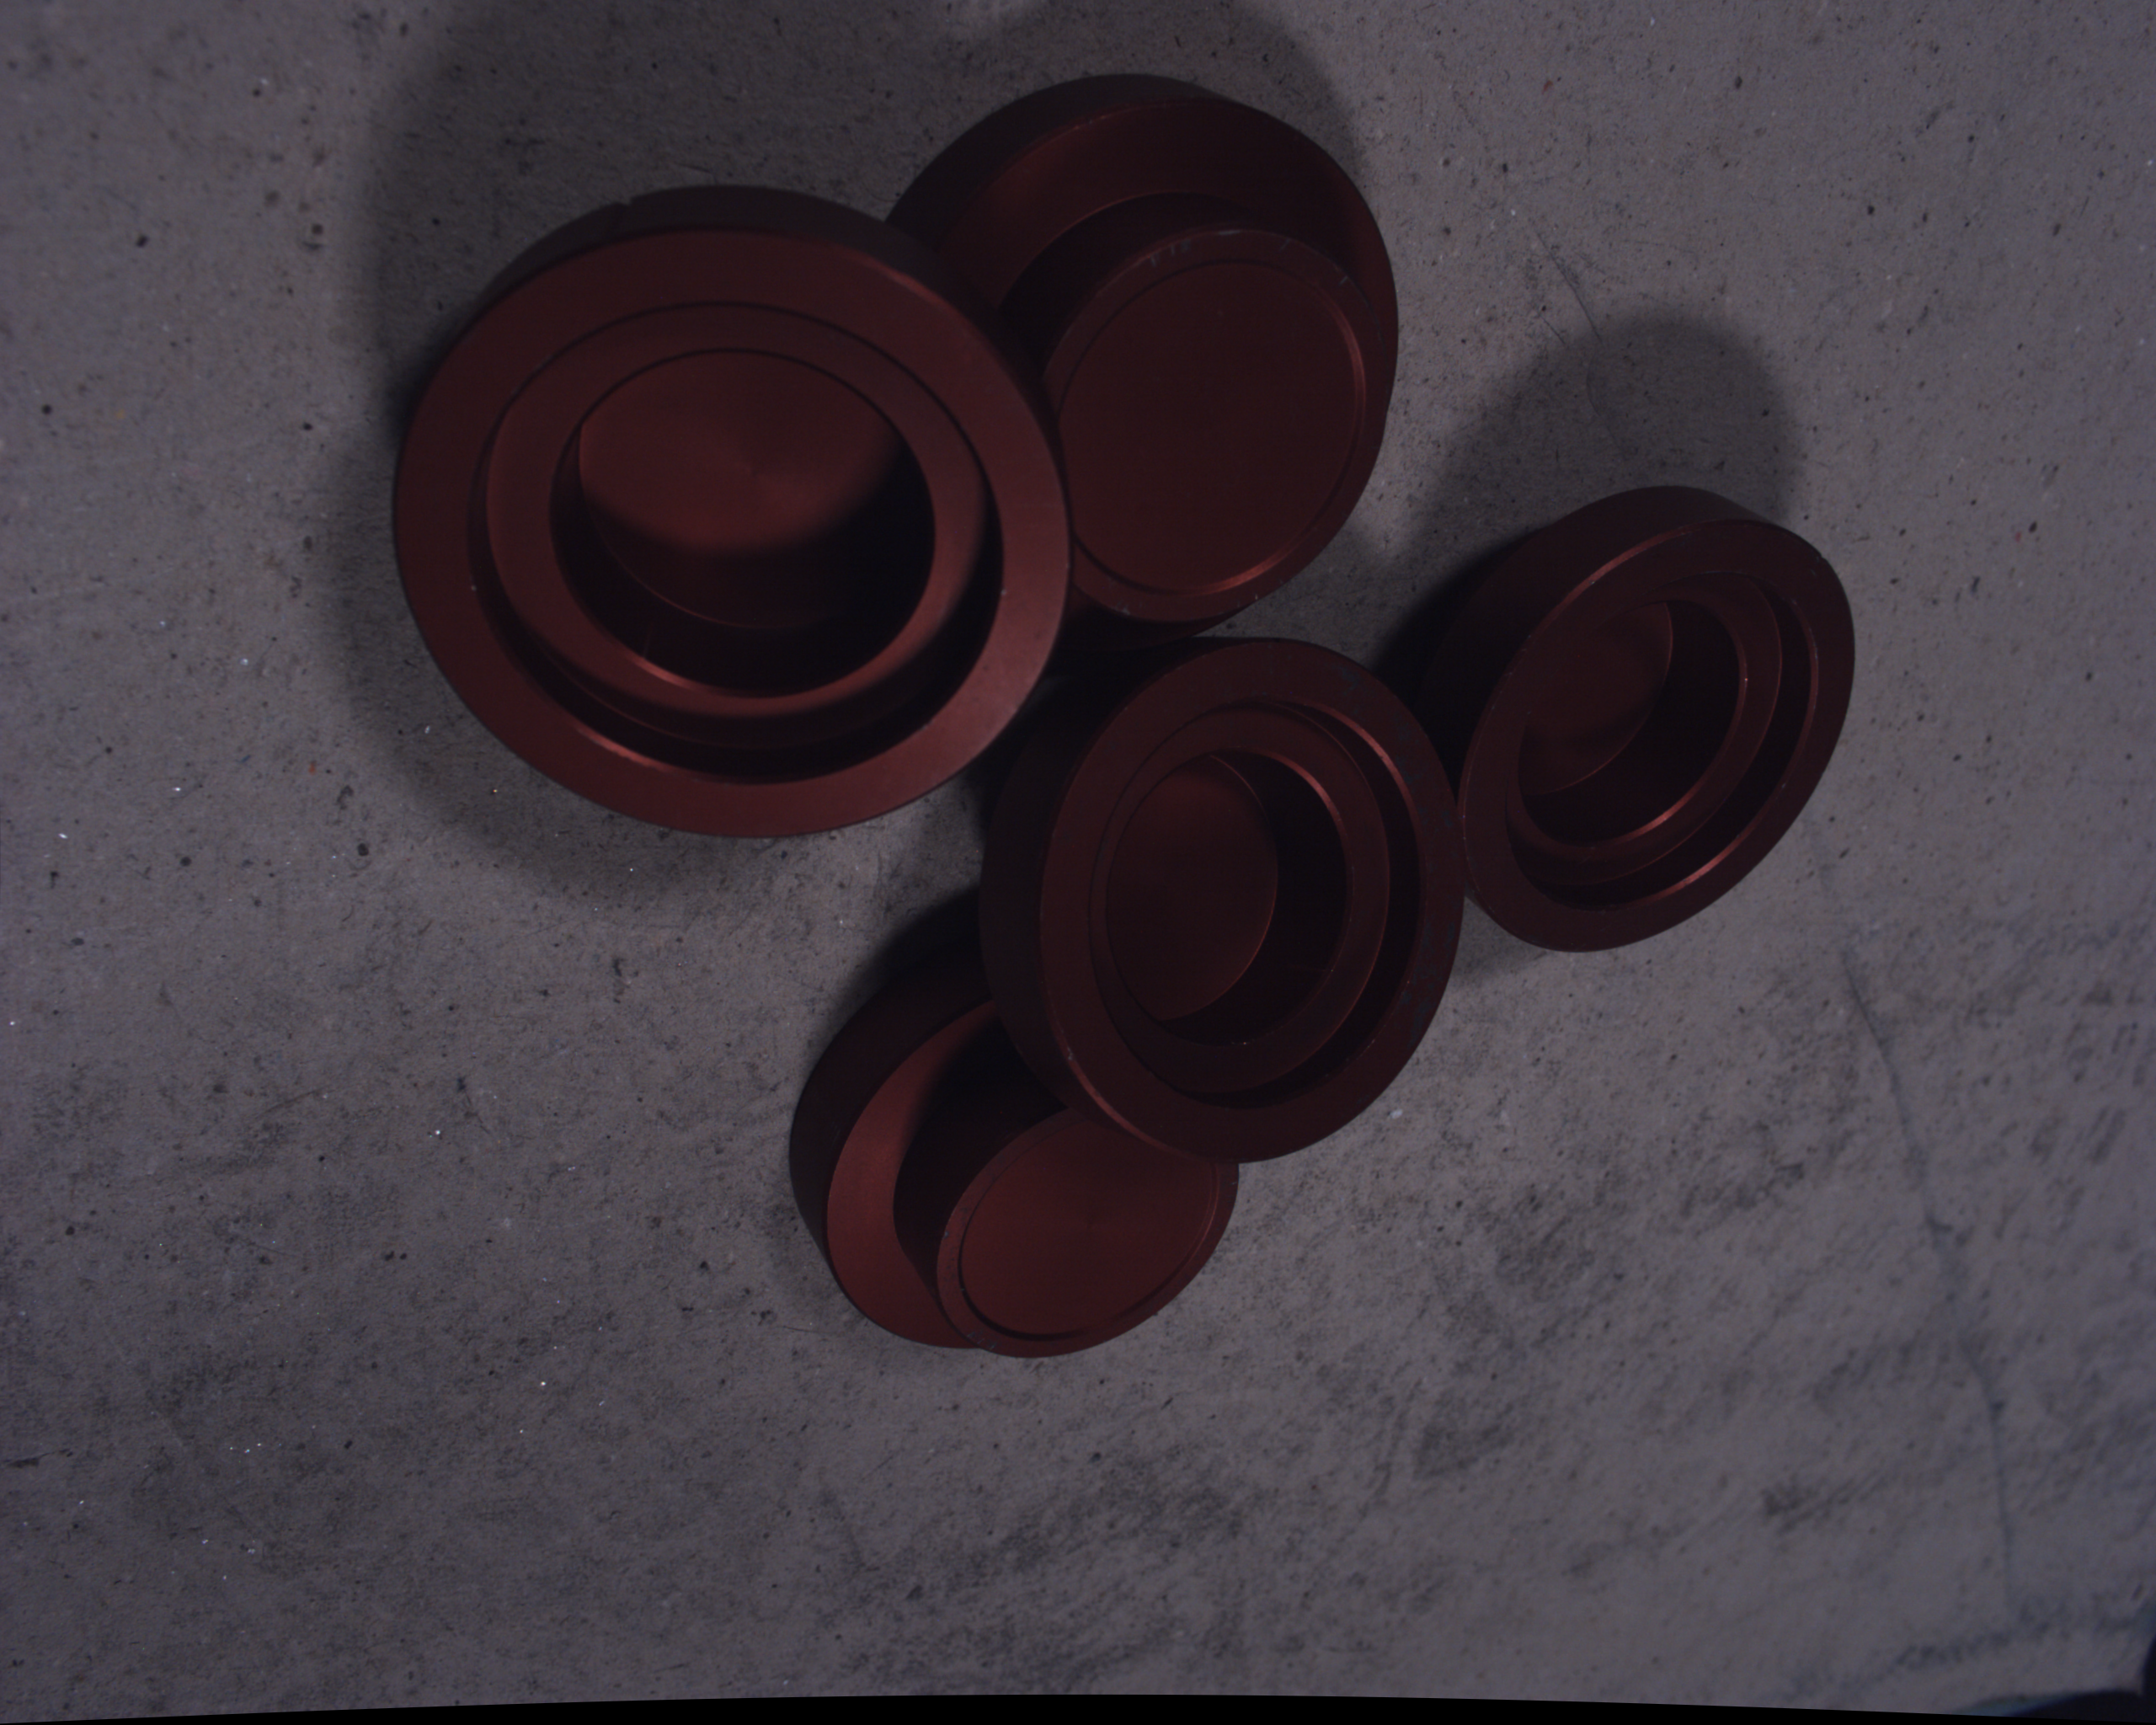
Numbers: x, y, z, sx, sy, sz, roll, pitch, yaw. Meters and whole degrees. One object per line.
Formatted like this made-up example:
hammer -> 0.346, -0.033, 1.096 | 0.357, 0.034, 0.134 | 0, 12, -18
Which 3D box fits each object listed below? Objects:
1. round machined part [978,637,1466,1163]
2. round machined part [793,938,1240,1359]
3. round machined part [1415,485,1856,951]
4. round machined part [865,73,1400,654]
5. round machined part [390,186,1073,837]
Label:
round machined part -> 0.024, 0.006, 0.402 | 0.099, 0.042, 0.097 | -4, 97, -31
round machined part -> -0.006, 0.064, 0.434 | 0.099, 0.042, 0.097 | -14, 125, -21
round machined part -> 0.111, -0.033, 0.439 | 0.099, 0.042, 0.097 | -14, 125, -21
round machined part -> 0.013, -0.080, 0.356 | 0.099, 0.042, 0.097 | -14, 125, -21
round machined part -> -0.051, -0.056, 0.322 | 0.099, 0.042, 0.097 | -2, 123, -3
